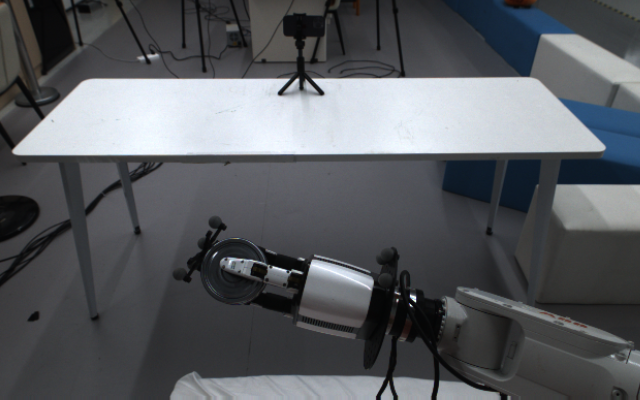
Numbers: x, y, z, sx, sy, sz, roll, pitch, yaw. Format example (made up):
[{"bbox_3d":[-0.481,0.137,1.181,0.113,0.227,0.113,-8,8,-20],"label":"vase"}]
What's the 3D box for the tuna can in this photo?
[{"bbox_3d":[-0.106,0.096,0.623,0.085,0.034,0.085,1,76,-5],"label":"tuna can"}]
